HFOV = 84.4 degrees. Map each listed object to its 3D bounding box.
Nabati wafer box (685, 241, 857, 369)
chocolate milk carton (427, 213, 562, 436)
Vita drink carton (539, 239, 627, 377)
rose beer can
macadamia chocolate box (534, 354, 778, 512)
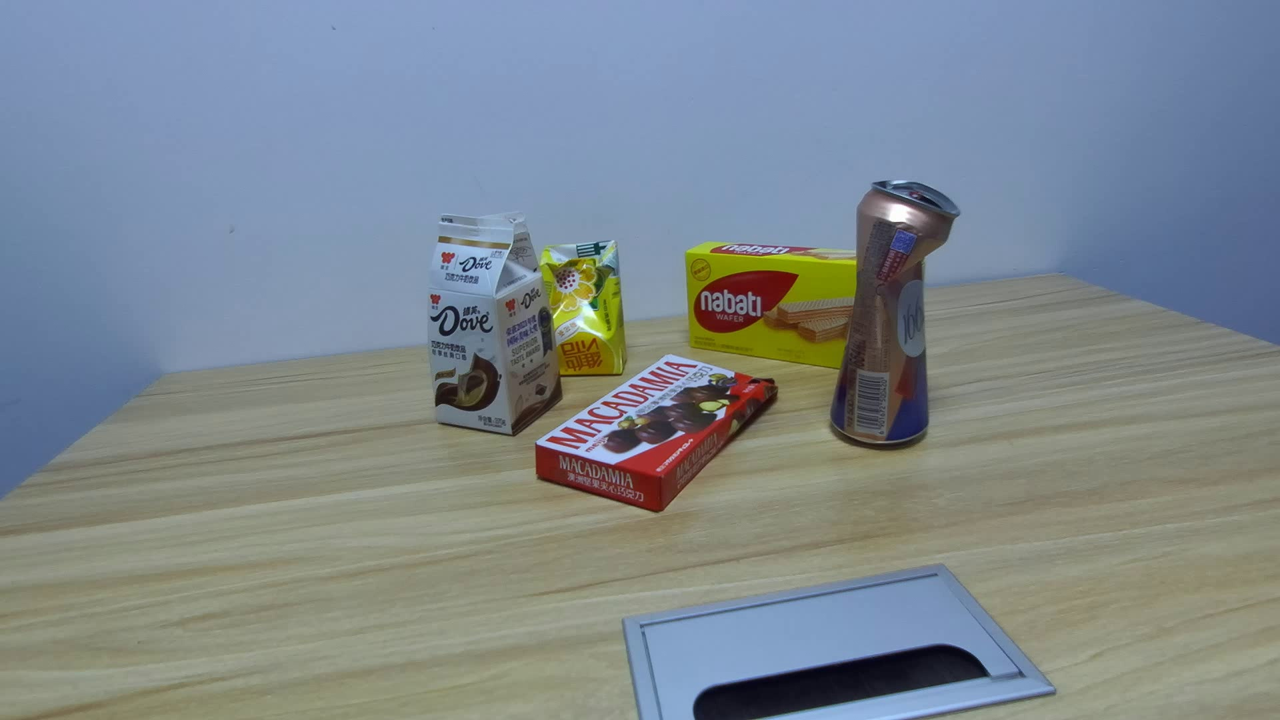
[{"bbox_3d":[0.136,-0.047,0.609,0.202,0.093,0.042,9,22,29],"label":"Nabati wafer box"},{"bbox_3d":[-0.116,-0.032,0.535,0.084,0.155,0.073,6,24,26],"label":"chocolate milk carton"},{"bbox_3d":[-0.049,-0.043,0.613,0.071,0.110,0.046,-3,18,8],"label":"Vita drink carton"},{"bbox_3d":[0.163,-0.027,0.459,0.070,0.168,0.069,-5,21,-13],"label":"rose beer can"},{"bbox_3d":[0.022,0.041,0.501,0.102,0.027,0.187,11,26,29],"label":"macadamia chocolate box"}]
